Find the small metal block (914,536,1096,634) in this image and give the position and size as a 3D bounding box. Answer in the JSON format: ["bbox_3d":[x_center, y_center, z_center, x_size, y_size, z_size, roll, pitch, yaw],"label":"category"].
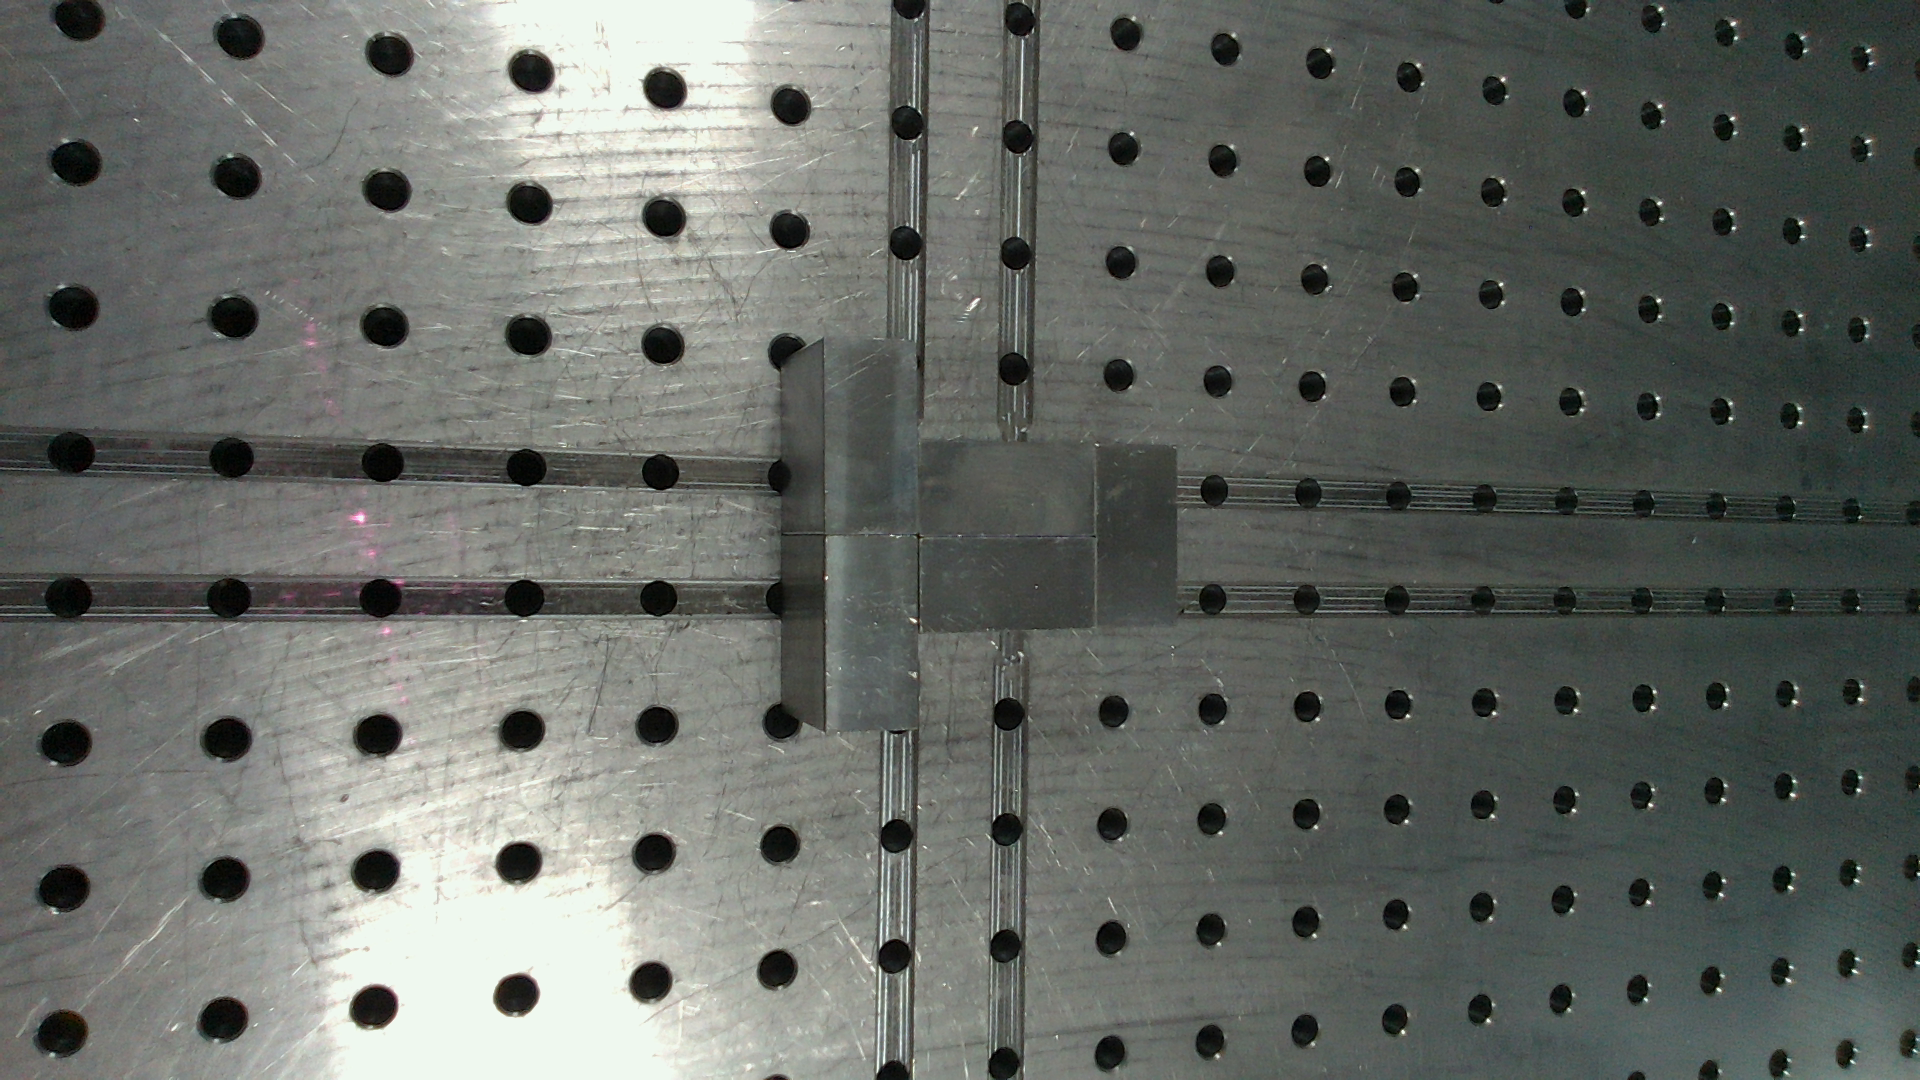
[{"bbox_3d":[0.005,0.011,0.384,0.050,0.050,0.025,0,90,-20],"label":"small metal block"}]

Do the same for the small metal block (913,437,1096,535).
[{"bbox_3d":[0.004,-0.014,0.384,0.050,0.050,0.025,0,90,-20],"label":"small metal block"}]

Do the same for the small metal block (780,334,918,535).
[{"bbox_3d":[-0.031,-0.026,0.371,0.025,0.050,0.050,0,90,-20],"label":"small metal block"}]

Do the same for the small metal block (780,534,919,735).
[{"bbox_3d":[-0.031,0.024,0.371,0.025,0.050,0.050,0,90,-20],"label":"small metal block"}]

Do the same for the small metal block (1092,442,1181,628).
[{"bbox_3d":[0.040,-0.001,0.397,0.025,0.050,0.050,0,90,-20],"label":"small metal block"}]
